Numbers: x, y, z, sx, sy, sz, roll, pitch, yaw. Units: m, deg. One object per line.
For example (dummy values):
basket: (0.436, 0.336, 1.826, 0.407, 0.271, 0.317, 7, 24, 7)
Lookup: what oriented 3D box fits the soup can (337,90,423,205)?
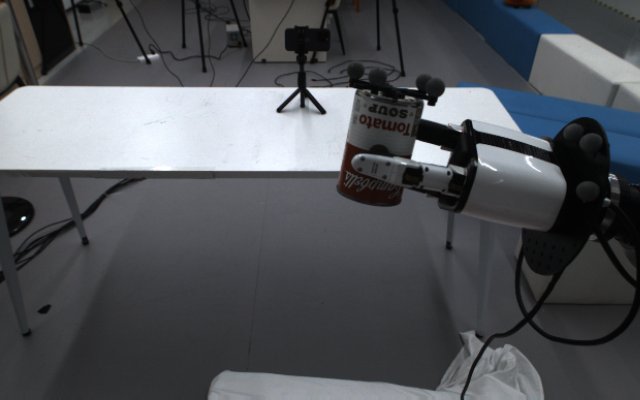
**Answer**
soup can: (0.060, -0.054, 0.479, 0.067, 0.101, 0.067, 9, 20, -3)
